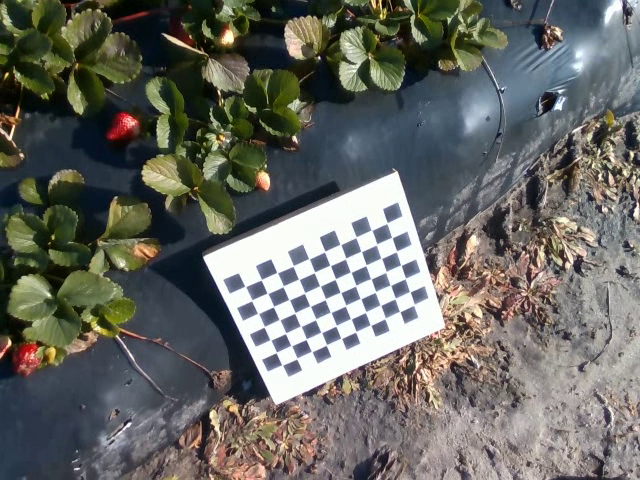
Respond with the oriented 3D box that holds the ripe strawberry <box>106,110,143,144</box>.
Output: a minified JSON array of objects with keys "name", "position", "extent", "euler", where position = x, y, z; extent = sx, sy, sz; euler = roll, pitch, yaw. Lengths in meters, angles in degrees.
[{"name":"ripe strawberry","position":[-0.252,-0.142,0.886],"extent":[0.055,0.042,0.044],"euler":[-39,32,-20]}]
